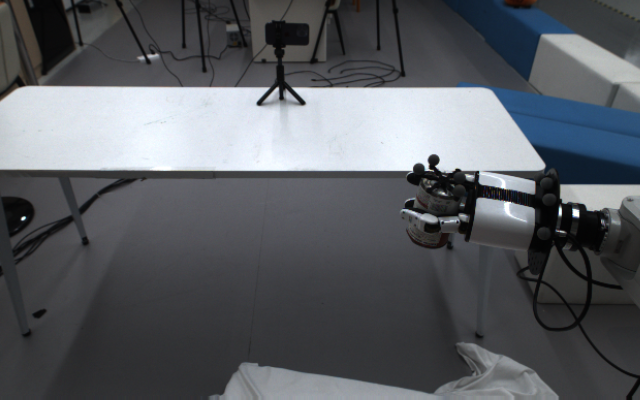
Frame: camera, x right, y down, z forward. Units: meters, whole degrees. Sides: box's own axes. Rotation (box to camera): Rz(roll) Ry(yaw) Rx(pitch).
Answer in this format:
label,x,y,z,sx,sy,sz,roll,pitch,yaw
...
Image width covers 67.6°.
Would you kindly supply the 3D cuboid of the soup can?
label,x,y,z,sx,sy,sz,roll,pitch,yaw
soup can,0.178,0.016,0.748,0.067,0.101,0.067,5,36,-4
